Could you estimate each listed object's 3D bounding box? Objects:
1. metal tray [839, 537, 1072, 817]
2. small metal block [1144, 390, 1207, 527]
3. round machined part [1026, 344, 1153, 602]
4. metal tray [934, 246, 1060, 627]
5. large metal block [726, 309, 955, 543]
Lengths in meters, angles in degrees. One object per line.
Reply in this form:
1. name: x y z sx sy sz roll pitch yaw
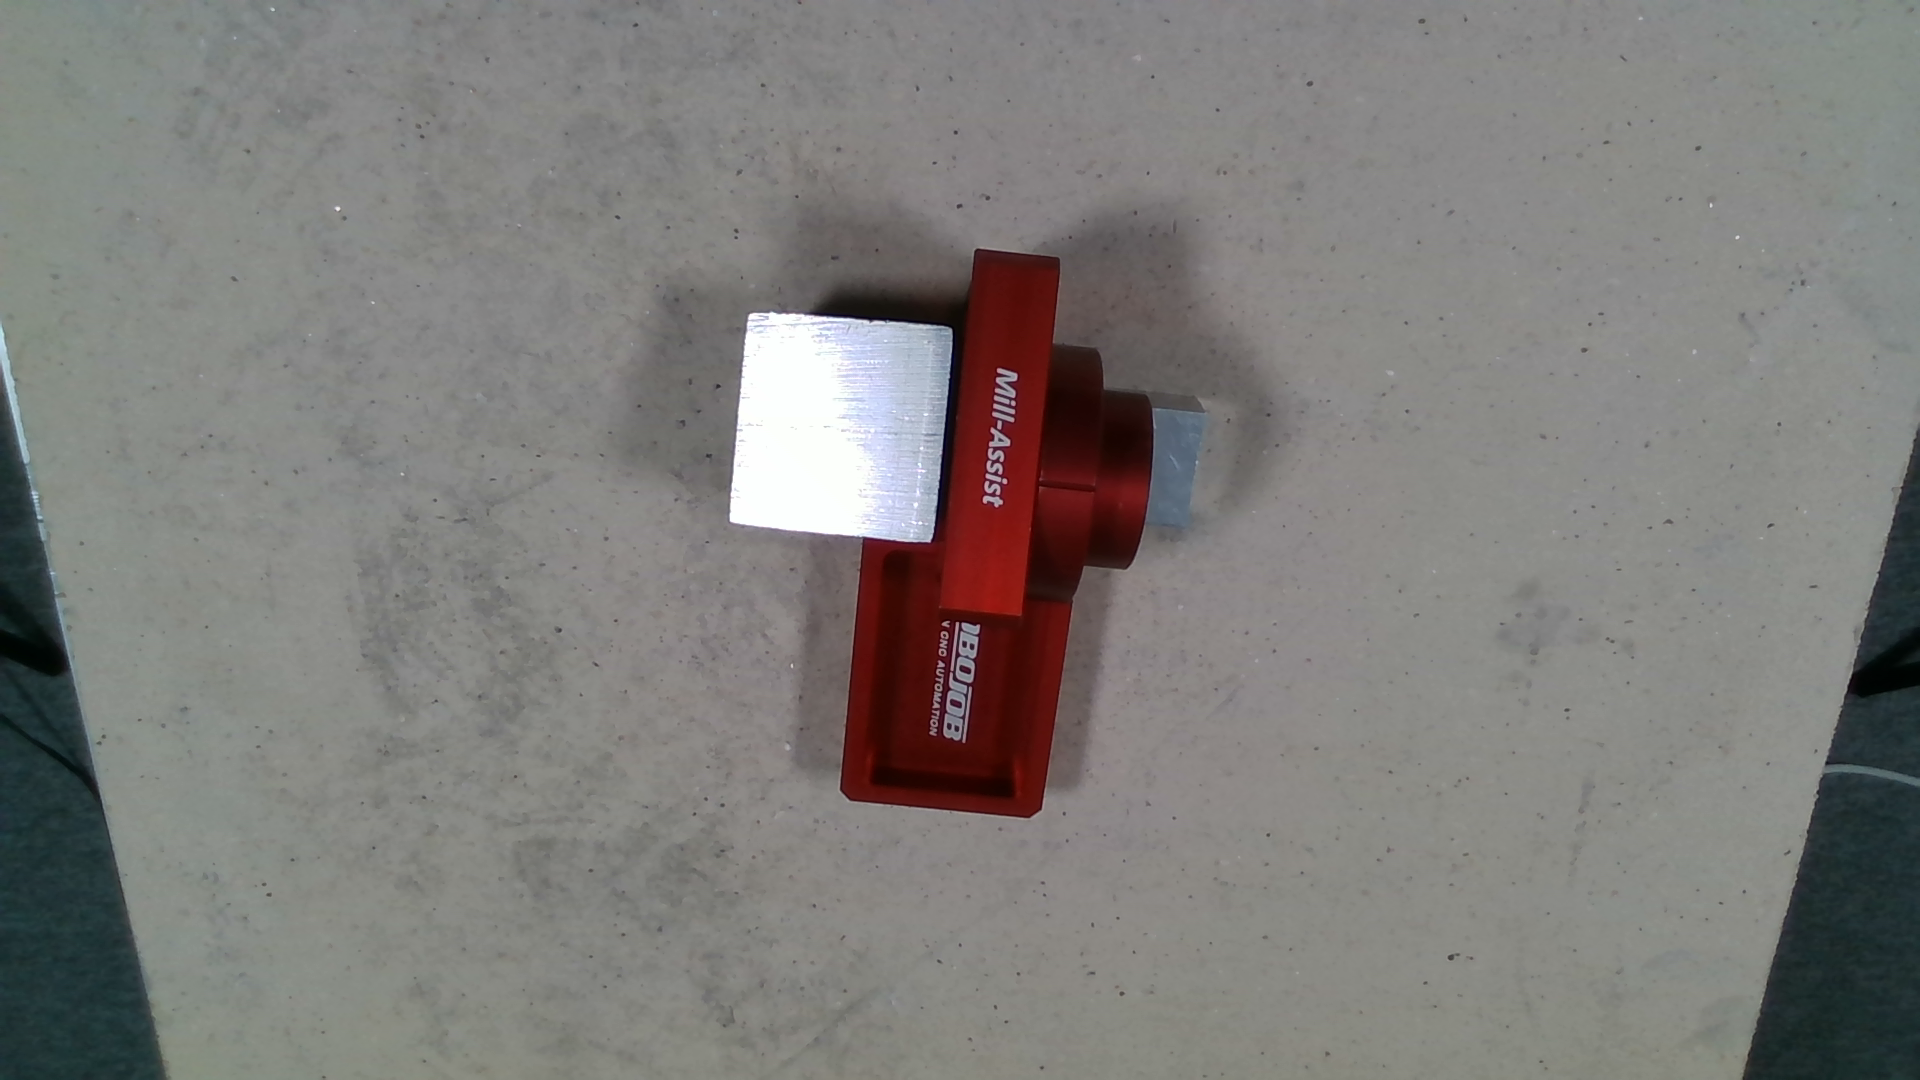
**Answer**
1. metal tray: -0.002 0.054 0.602 0.090 0.030 0.130 6 110 -2
2. small metal block: 0.071 -0.036 0.572 0.050 0.025 0.050 6 110 -2
3. round machined part: 0.046 -0.024 0.525 0.042 0.098 0.098 6 110 -2
4. metal tray: 0.012 -0.037 0.518 0.030 0.090 0.130 6 92 -2
5. large metal block: -0.041 -0.043 0.536 0.080 0.050 0.080 6 92 11
